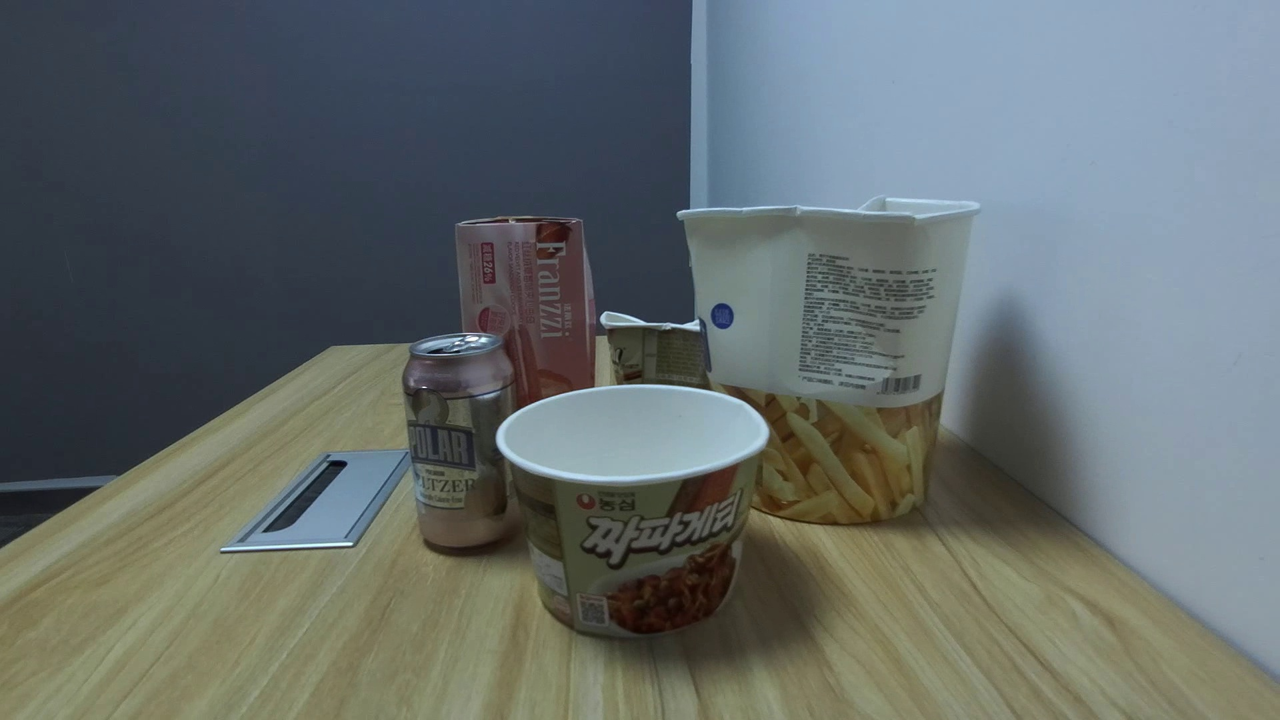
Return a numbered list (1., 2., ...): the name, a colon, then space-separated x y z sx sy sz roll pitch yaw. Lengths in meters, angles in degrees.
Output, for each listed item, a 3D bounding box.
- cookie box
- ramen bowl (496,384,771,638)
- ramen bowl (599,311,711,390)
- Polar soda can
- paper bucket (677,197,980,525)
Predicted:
1. cookie box: -0.085 -0.020 0.570 0.105 0.187 0.049 -2 11 -2
2. ramen bowl: -0.003 0.077 0.379 0.140 0.095 0.140 -1 14 1
3. ramen bowl: 0.029 0.000 0.655 0.128 0.093 0.112 2 18 18
4. Polar soda can: -0.109 0.050 0.441 0.067 0.125 0.067 -3 13 1
5. paper bucket: 0.136 -0.011 0.493 0.168 0.202 0.163 12 19 35
